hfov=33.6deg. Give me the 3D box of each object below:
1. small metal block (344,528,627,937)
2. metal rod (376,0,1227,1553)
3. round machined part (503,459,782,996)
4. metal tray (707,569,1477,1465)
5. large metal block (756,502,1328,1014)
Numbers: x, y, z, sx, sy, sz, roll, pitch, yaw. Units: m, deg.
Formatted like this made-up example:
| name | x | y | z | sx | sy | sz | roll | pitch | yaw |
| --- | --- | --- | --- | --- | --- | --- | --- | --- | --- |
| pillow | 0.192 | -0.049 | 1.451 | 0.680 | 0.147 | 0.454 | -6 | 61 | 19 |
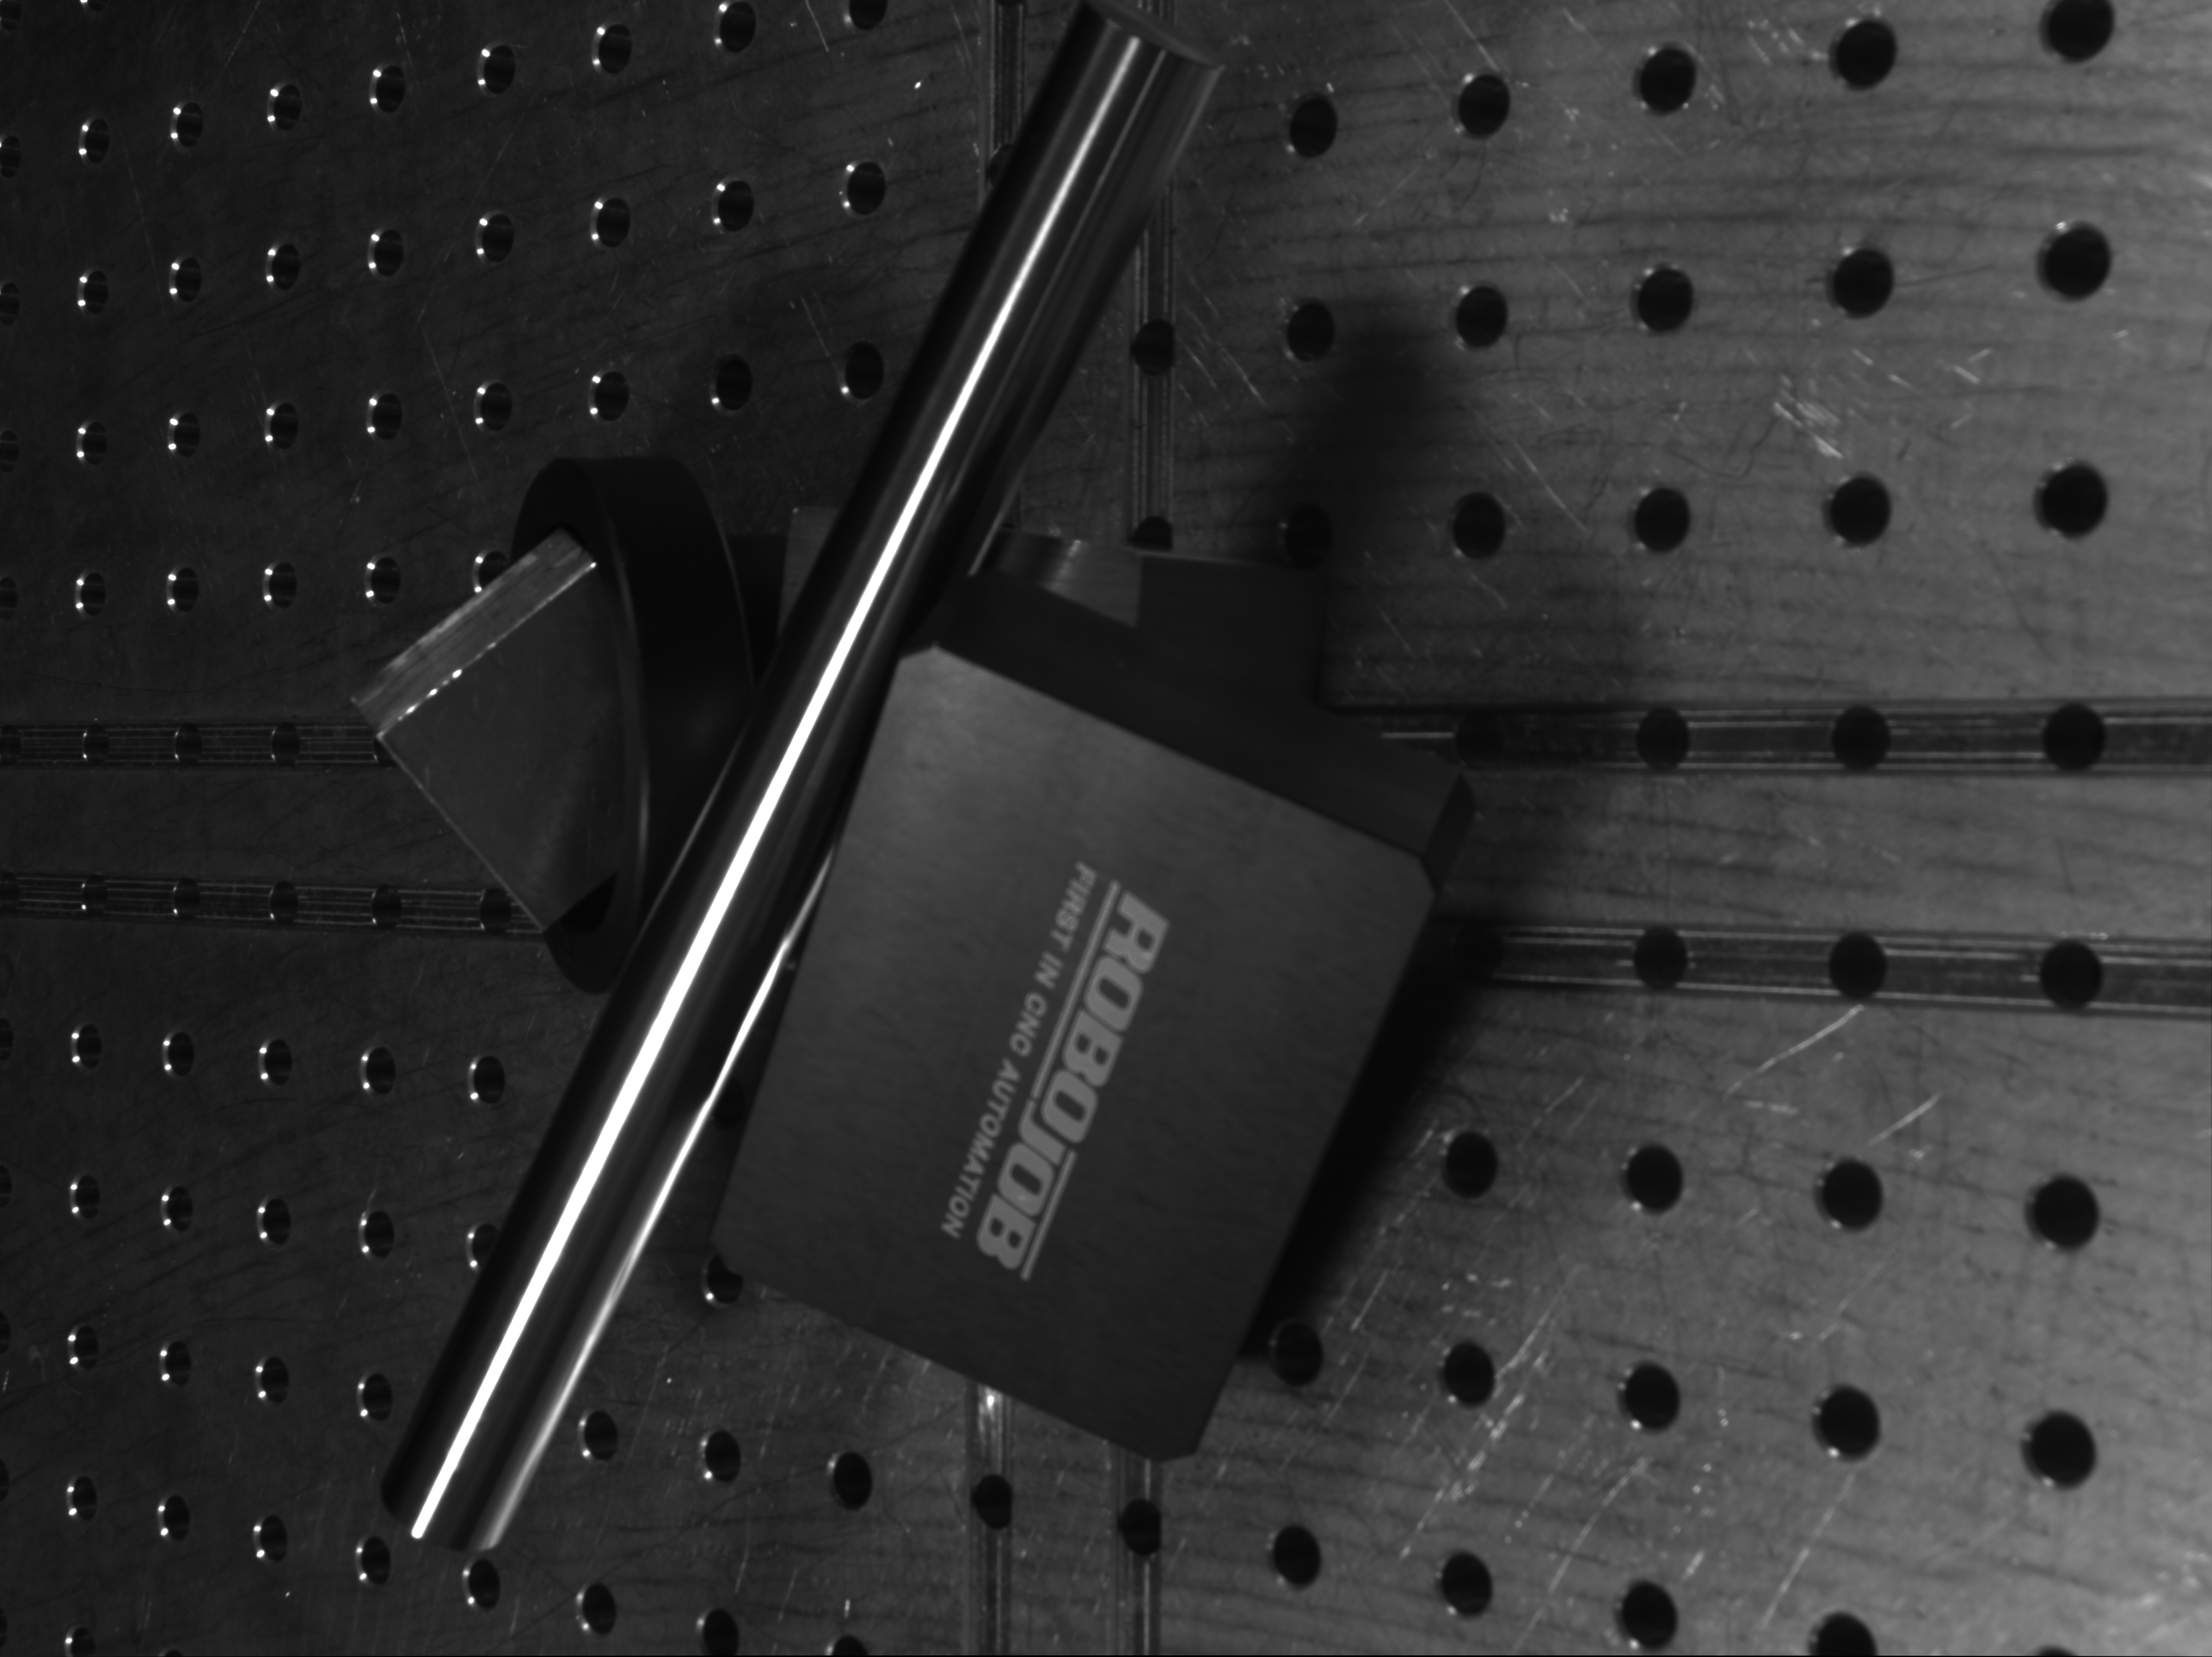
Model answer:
| name | x | y | z | sx | sy | sz | roll | pitch | yaw |
| --- | --- | --- | --- | --- | --- | --- | --- | --- | --- |
| small metal block | -0.102 | -0.018 | 0.671 | 0.050 | 0.050 | 0.025 | -39 | 30 | -6 |
| metal rod | -0.057 | 0.001 | 0.621 | 0.025 | 0.025 | 0.300 | 41 | 115 | 32 |
| round machined part | -0.080 | -0.019 | 0.677 | 0.098 | 0.042 | 0.098 | 177 | 90 | -65 |
| metal tray | -0.005 | 0.033 | 0.596 | 0.090 | 0.030 | 0.130 | 24 | 122 | 5 |
| large metal block | -0.013 | -0.011 | 0.634 | 0.080 | 0.050 | 0.080 | 11 | 97 | 39 |
